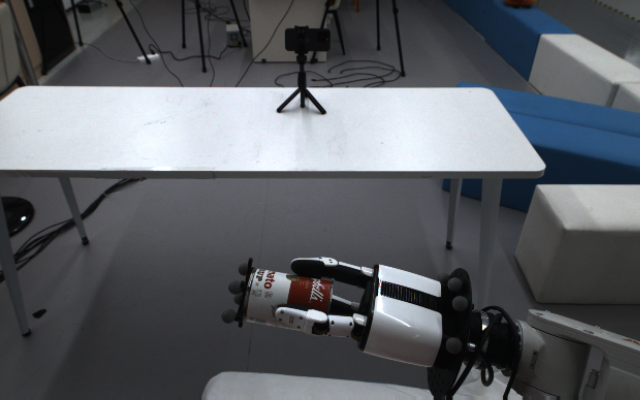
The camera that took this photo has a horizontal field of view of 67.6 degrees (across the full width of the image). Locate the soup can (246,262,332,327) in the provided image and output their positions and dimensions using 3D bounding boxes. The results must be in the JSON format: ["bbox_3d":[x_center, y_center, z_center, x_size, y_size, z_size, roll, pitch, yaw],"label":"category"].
[{"bbox_3d":[-0.035,0.126,0.603,0.101,0.067,0.067,10,35,1],"label":"soup can"}]
